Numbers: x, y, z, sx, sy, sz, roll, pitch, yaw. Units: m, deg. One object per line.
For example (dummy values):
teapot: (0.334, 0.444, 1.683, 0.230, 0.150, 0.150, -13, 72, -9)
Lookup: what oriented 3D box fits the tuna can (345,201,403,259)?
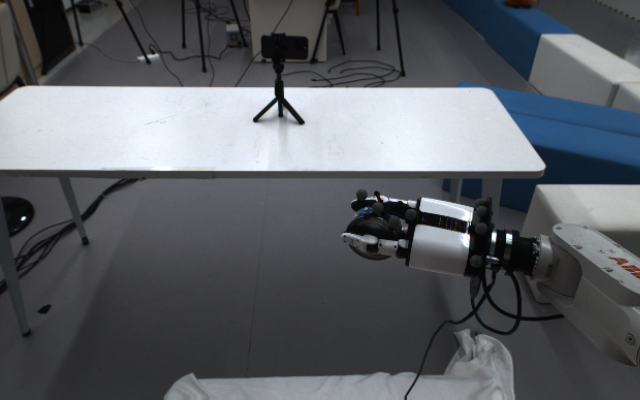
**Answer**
tuna can: (0.088, 0.050, 0.770, 0.085, 0.085, 0.034, 12, 33, 14)
